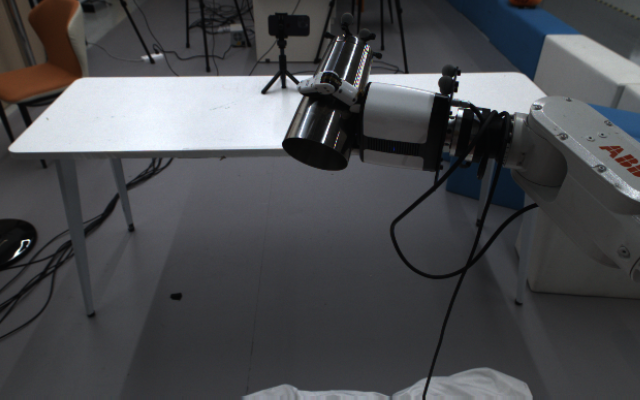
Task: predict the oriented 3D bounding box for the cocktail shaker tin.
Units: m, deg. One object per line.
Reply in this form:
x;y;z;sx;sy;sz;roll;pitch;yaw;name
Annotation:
0.020;-0.136;0.663;0.093;0.093;0.170;14;73;16;cocktail shaker tin
